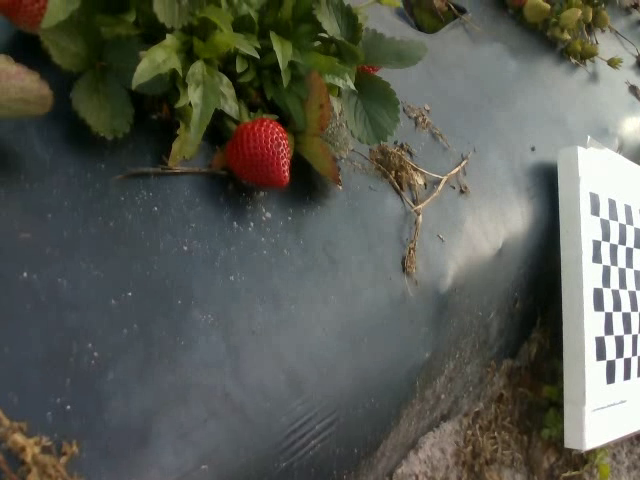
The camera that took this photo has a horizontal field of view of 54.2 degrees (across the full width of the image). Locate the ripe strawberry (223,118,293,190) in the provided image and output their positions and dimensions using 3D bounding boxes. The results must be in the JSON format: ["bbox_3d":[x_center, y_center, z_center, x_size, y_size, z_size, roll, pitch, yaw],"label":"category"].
[{"bbox_3d":[-0.036,-0.047,0.363,0.043,0.051,0.043,-16,-23,-44],"label":"ripe strawberry"}]
